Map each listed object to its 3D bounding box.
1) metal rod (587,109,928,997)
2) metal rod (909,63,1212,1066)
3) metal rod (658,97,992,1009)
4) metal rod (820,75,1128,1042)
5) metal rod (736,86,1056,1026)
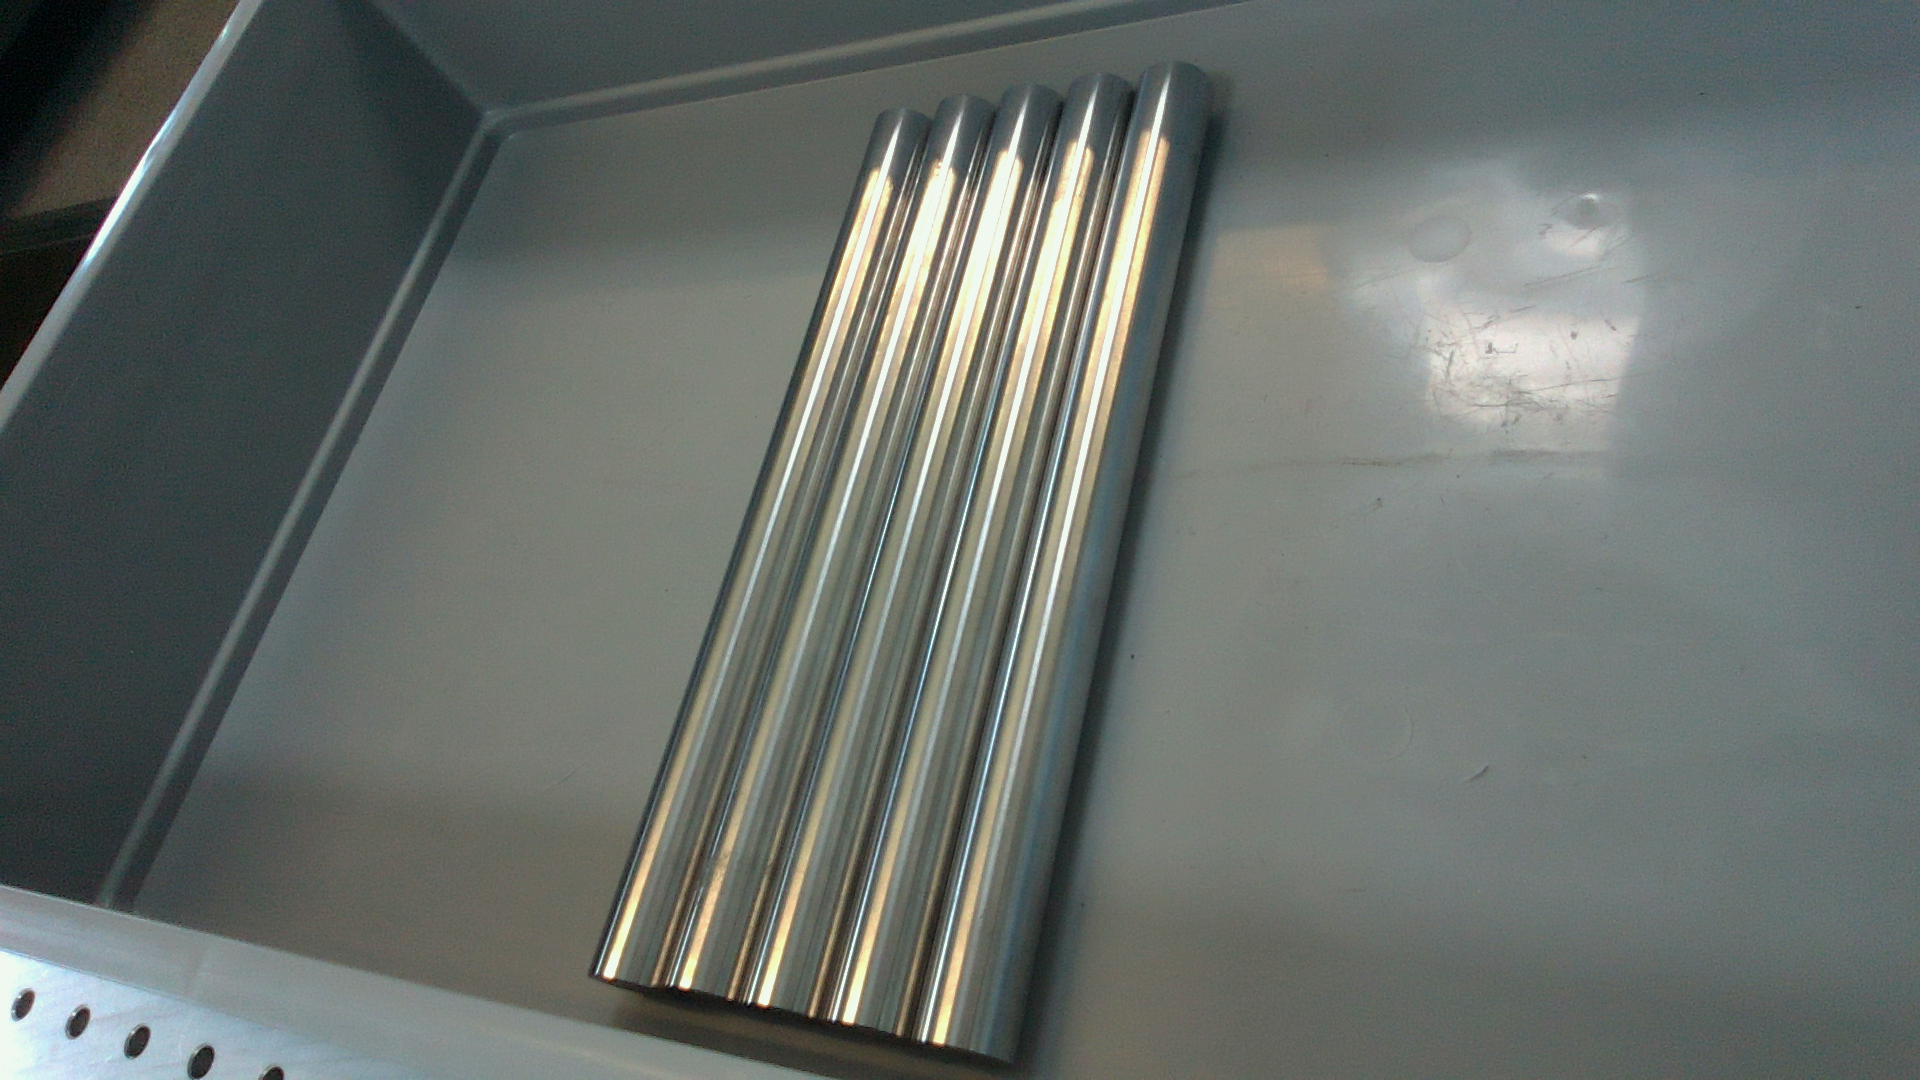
[{"bbox_3d":[-0.053,-0.013,0.429,0.025,0.025,0.300,0,62,29],"label":"metal rod"},{"bbox_3d":[0.035,-0.013,0.382,0.025,0.025,0.300,0,62,29],"label":"metal rod"},{"bbox_3d":[-0.032,-0.014,0.418,0.025,0.025,0.300,0,62,29],"label":"metal rod"},{"bbox_3d":[0.013,-0.013,0.394,0.025,0.025,0.300,0,62,29],"label":"metal rod"},{"bbox_3d":[-0.009,-0.014,0.406,0.025,0.025,0.300,0,62,29],"label":"metal rod"}]
